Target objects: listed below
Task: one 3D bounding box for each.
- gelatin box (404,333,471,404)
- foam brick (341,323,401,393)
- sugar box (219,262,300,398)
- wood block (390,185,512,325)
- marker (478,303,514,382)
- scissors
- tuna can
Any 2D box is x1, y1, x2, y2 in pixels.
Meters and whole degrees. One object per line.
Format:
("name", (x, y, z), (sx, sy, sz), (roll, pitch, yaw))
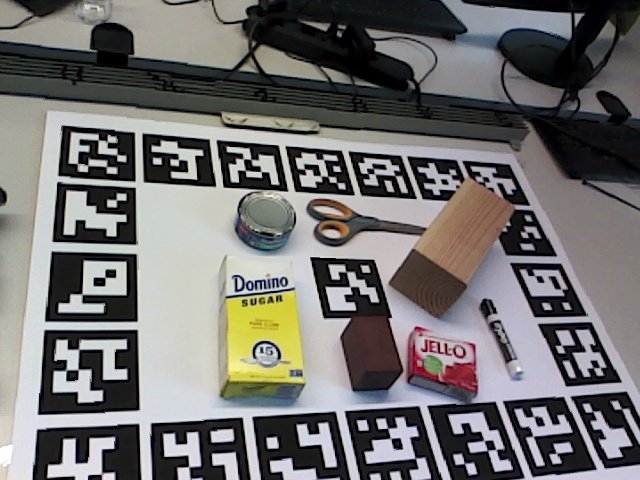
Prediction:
("gelatin box", (0.159, 0.172, 0.836), (0.089, 0.030, 0.073), (17, 49, -7))
("foam brick", (0.064, 0.152, 0.797), (0.052, 0.051, 0.078), (3, 52, -18))
("sugar box", (-0.080, 0.111, 0.788), (0.092, 0.045, 0.177), (6, 51, -17))
("wood block", (0.203, 0.019, 0.941), (0.090, 0.091, 0.206), (35, 48, 10))
("marker", (0.254, 0.146, 0.898), (0.019, 0.019, 0.121), (3, 54, -18))
("scissors", (0.073, -0.015, 0.966), (0.202, 0.016, 0.088), (7, 51, -13))
("tuna can", (-0.085, -0.022, 0.896), (0.085, 0.034, 0.086), (10, 50, -13))
